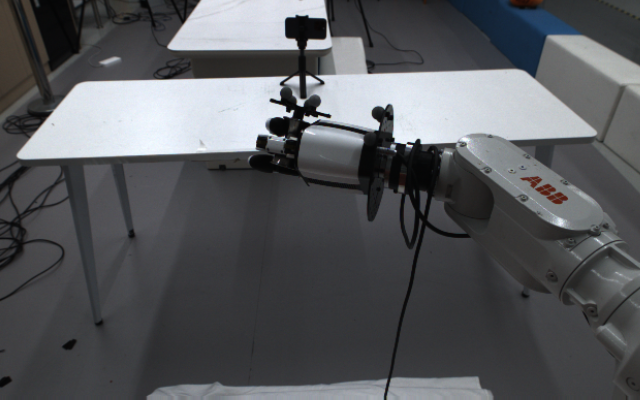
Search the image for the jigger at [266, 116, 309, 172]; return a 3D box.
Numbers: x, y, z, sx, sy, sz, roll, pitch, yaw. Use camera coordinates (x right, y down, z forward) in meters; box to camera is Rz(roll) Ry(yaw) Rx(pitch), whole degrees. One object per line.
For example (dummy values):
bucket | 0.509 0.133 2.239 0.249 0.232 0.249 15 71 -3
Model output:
jigger | -0.041 -0.080 0.682 0.043 0.071 0.043 17 2 -1
